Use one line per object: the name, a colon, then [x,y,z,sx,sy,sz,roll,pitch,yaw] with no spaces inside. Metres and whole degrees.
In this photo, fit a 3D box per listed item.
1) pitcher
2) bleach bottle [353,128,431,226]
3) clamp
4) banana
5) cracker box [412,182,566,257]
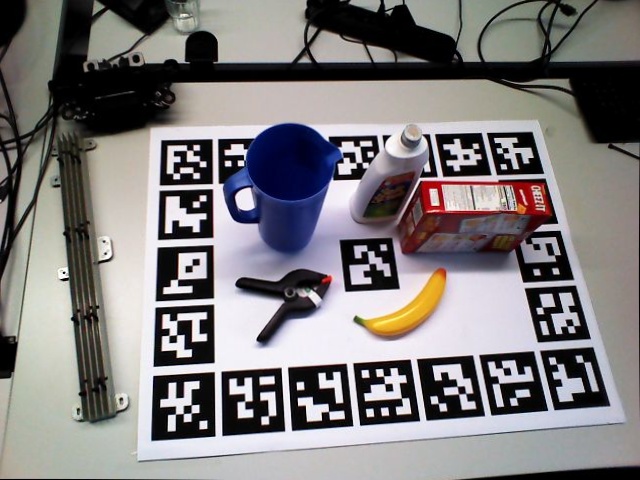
pitcher: [-0.059,-0.073,0.843,0.188,0.244,0.133,-19,68,-15]
bleach bottle: [0.124,-0.108,0.894,0.103,0.252,0.067,-2,65,-6]
clamp: [-0.048,0.098,0.904,0.165,0.037,0.121,-17,67,-14]
banana: [0.172,0.116,0.922,0.196,0.039,0.074,-35,72,-18]
cracker box: [0.281,-0.033,0.903,0.214,0.165,0.071,-1,63,-3]
